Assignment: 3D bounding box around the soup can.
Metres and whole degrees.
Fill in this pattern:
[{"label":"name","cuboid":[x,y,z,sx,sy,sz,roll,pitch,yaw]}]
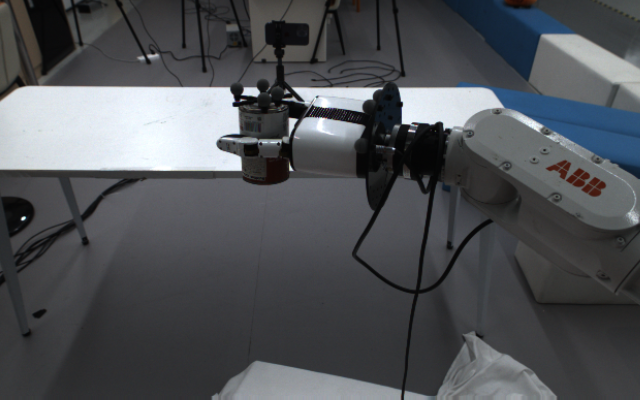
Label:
[{"label":"soup can","cuboid":[-0.074,-0.079,0.652,0.067,0.101,0.067,1,25,0]}]
